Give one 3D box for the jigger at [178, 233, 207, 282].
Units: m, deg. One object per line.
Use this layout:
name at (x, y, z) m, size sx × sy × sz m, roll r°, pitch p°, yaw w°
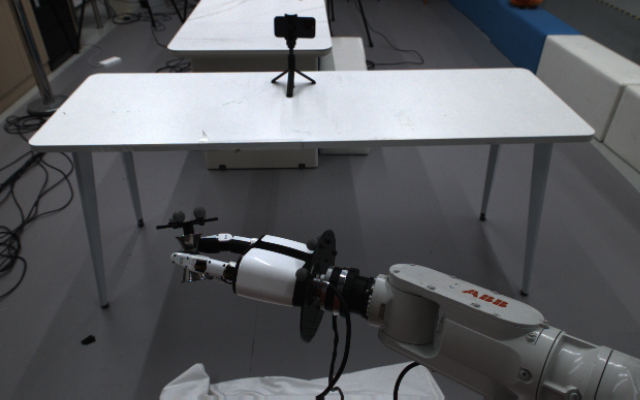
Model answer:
jigger at (-0.187, 0.085, 0.718) m, size 0.043 × 0.071 × 0.043 m, roll -10°, pitch -3°, yaw -1°
